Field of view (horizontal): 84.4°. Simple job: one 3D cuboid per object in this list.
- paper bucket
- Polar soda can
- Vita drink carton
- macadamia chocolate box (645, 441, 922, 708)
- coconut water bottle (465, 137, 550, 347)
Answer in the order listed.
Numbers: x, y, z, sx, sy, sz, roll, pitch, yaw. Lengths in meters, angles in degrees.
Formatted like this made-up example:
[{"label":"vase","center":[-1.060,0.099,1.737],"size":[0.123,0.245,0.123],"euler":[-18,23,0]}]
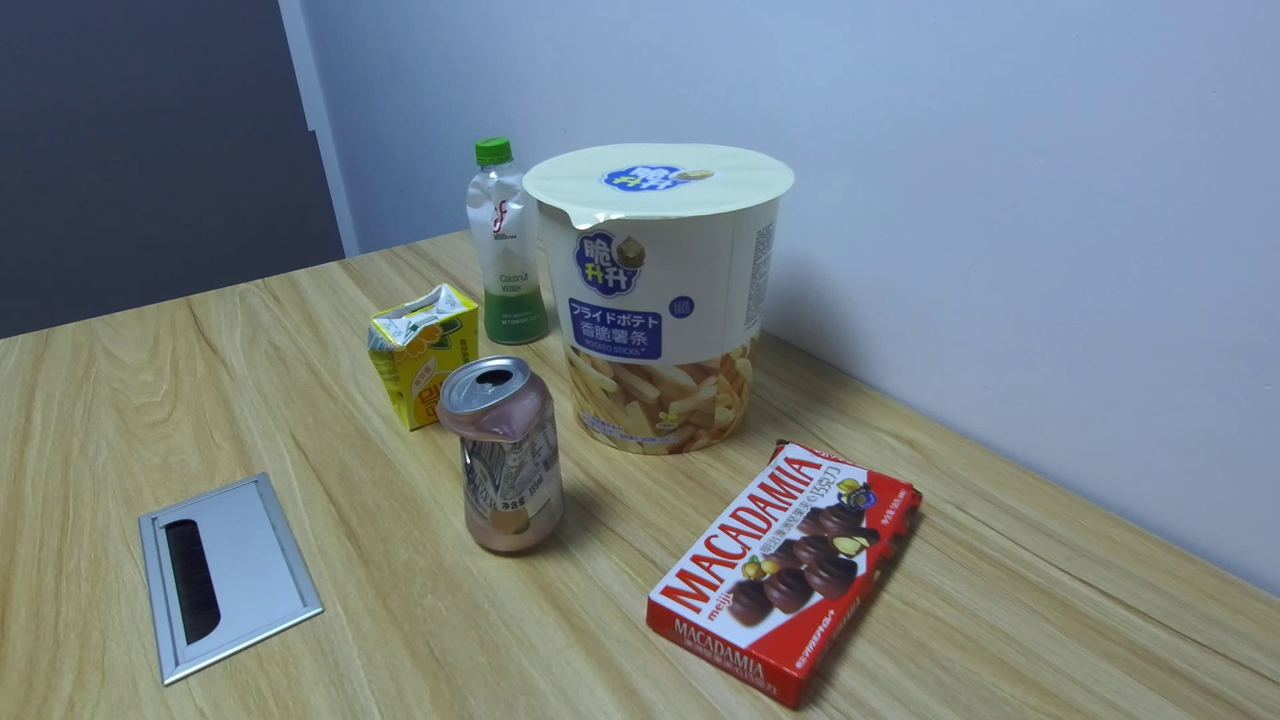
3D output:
[{"label":"paper bucket","center":[0.017,-0.049,0.546],"size":[0.198,0.195,0.198],"euler":[-2,30,1]},{"label":"Polar soda can","center":[-0.089,0.061,0.445],"size":[0.071,0.122,0.066],"euler":[3,36,11]},{"label":"Vita drink carton","center":[-0.168,0.001,0.565],"size":[0.087,0.108,0.042],"euler":[-23,51,-26]},{"label":"macadamia chocolate box","center":[0.094,0.115,0.431],"size":[0.105,0.028,0.183],"euler":[19,35,31]},{"label":"coconut water bottle","center":[-0.126,-0.108,0.664],"size":[0.069,0.186,0.069],"euler":[-3,26,2]}]
